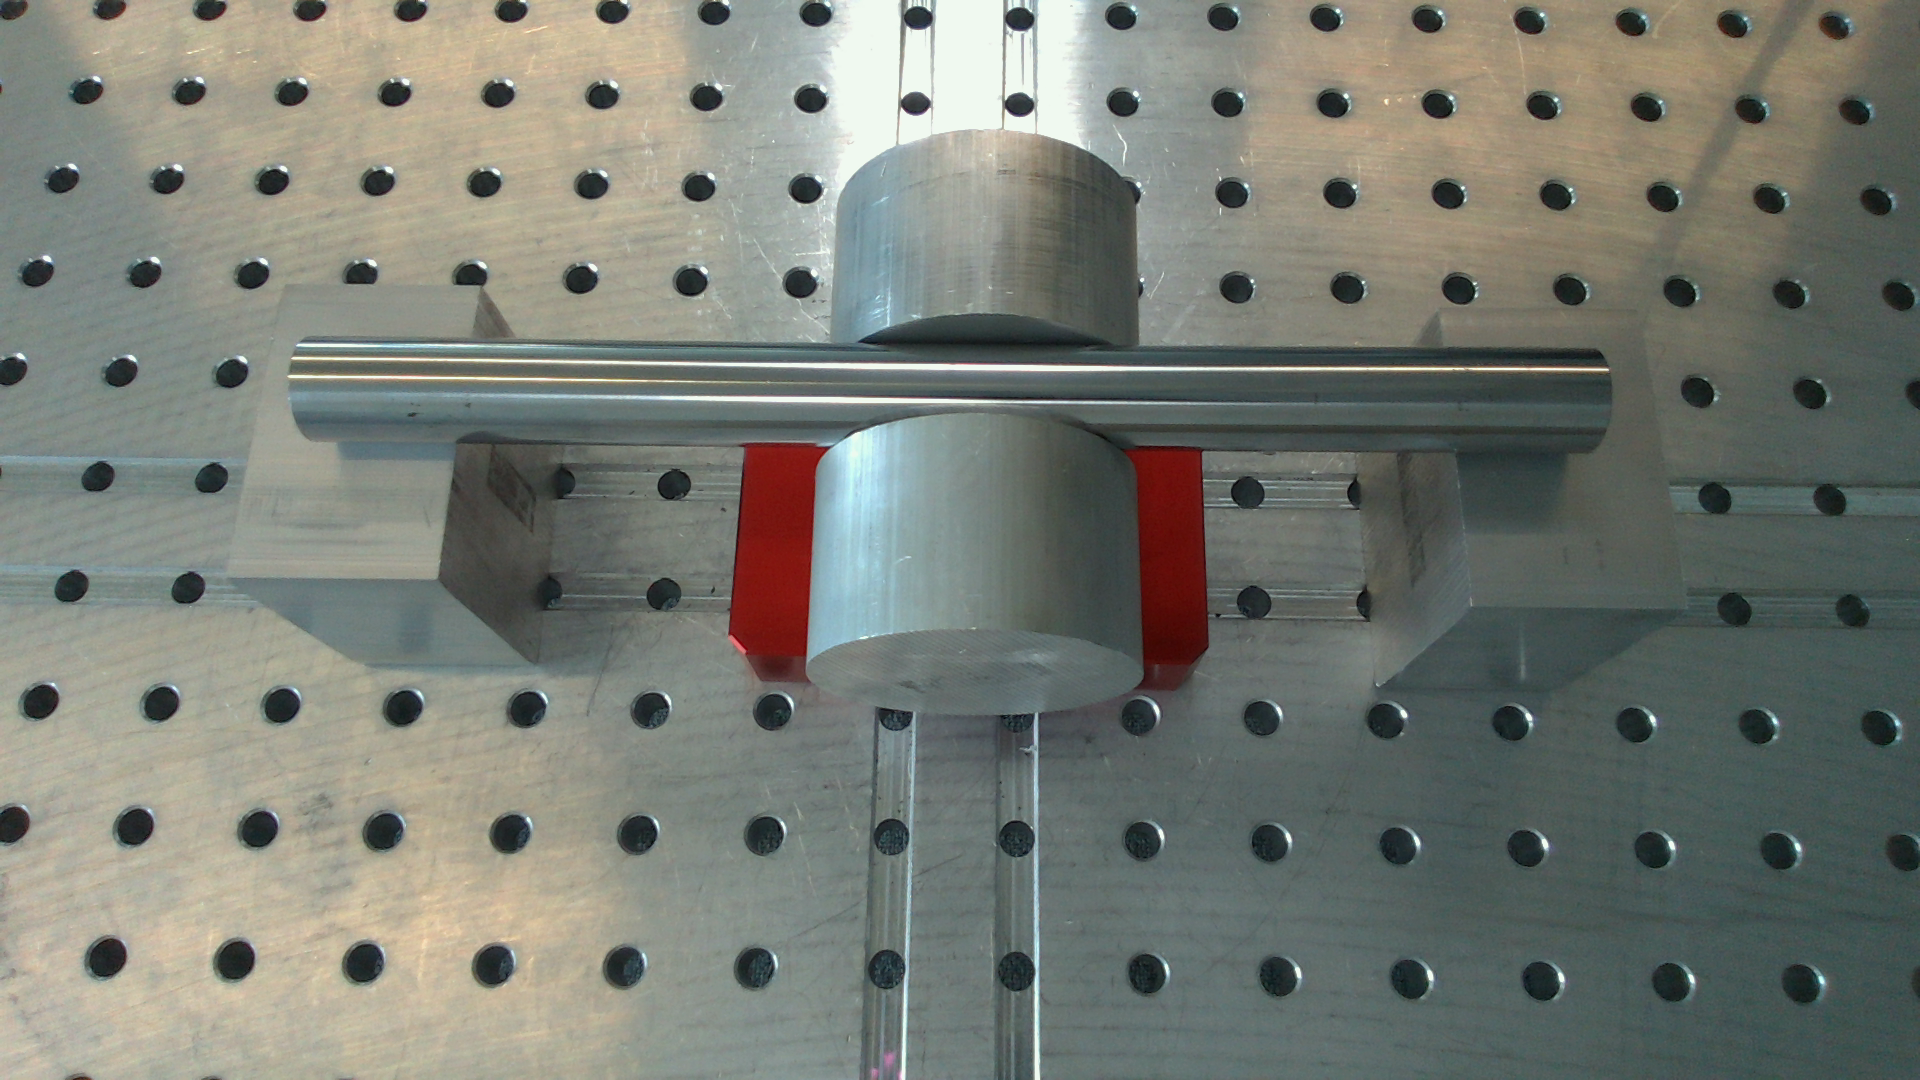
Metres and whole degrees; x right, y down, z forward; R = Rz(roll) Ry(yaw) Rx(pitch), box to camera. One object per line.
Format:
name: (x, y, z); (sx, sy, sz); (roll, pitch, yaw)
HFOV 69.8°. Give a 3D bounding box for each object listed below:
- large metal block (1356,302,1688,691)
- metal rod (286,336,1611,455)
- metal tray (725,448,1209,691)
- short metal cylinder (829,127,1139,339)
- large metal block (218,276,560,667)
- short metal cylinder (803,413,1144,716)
large metal block: (0.144, -0.008, 0.370); (0.050, 0.080, 0.080); (1, 70, 0)
metal rod: (-0.003, -0.034, 0.324); (0.300, 0.025, 0.025); (1, 70, 0)
metal tray: (0.003, -0.005, 0.396); (0.130, 0.030, 0.090); (1, 70, 0)
short metal cylinder: (0.006, -0.062, 0.359); (0.080, 0.080, 0.050); (1, 70, 0)
large metal block: (-0.147, -0.015, 0.372); (0.050, 0.080, 0.080); (1, 70, 0)
short metal cylinder: (0.004, 0.009, 0.333); (0.080, 0.080, 0.050); (1, 70, 0)
